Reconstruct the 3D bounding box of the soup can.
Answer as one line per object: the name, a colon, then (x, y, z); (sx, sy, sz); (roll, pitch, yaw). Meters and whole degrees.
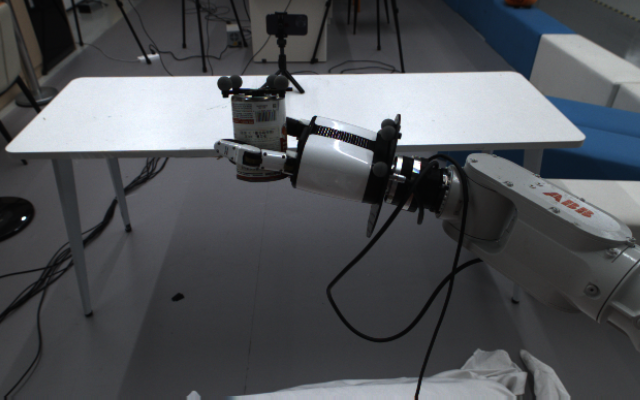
soup can: (-0.073, -0.079, 0.602); (0.067, 0.101, 0.067); (-2, 17, 0)
